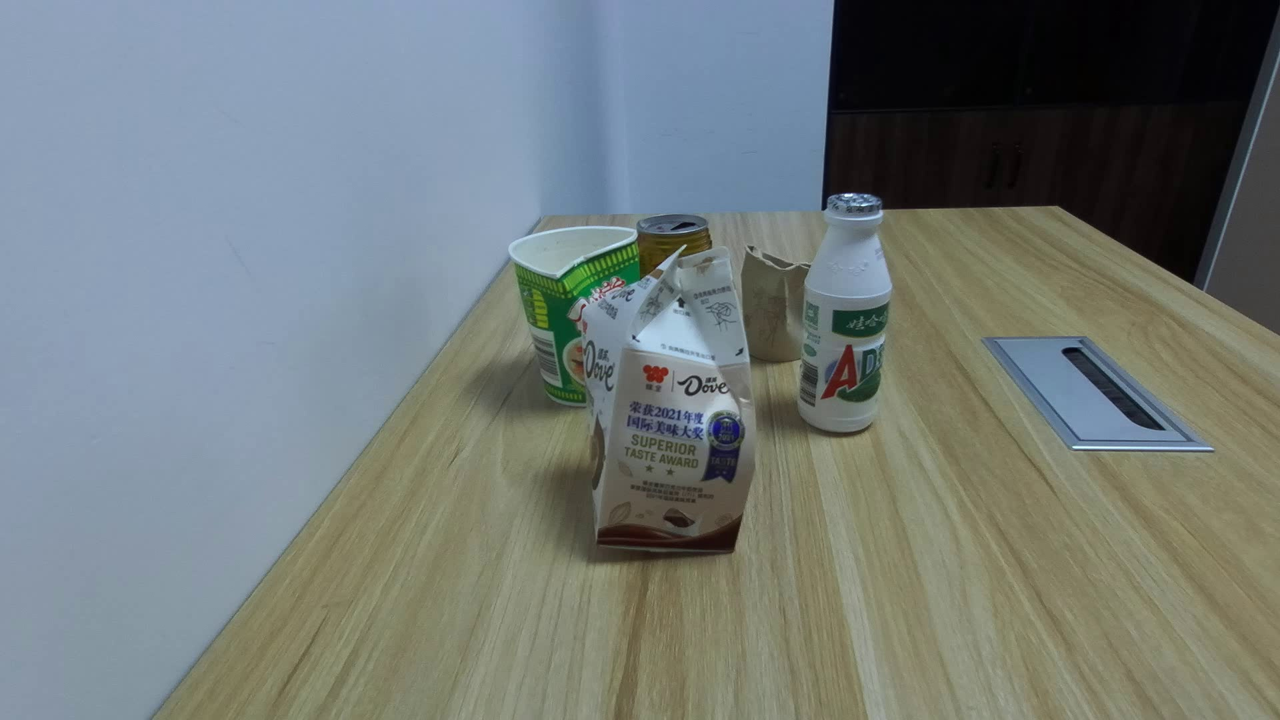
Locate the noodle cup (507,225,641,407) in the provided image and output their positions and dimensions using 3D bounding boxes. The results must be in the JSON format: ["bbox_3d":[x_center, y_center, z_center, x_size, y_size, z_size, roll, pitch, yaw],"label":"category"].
[{"bbox_3d":[-0.040,-0.033,0.511,0.094,0.109,0.086,-21,33,-28],"label":"noodle cup"}]

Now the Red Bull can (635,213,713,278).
[{"bbox_3d":[0.029,-0.072,0.608,0.068,0.093,0.068,-2,28,1],"label":"Red Bull can"}]

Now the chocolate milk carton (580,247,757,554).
[{"bbox_3d":[0.014,0.018,0.367,0.077,0.155,0.089,-2,13,-5],"label":"chocolate milk carton"}]

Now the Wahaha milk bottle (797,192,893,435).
[{"bbox_3d":[0.128,-0.027,0.440,0.053,0.147,0.053,-3,27,2],"label":"Wahaha milk bottle"}]

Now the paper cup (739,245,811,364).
[{"bbox_3d":[0.112,-0.045,0.550,0.058,0.083,0.066,-12,28,-22],"label":"paper cup"}]
